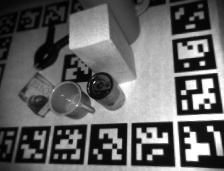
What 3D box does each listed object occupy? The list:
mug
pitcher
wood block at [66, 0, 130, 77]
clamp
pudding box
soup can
[{"bbox_3d":[-0.106,0.035,0.574,0.116,0.082,0.093,31,80,28],"label":"mug"},{"bbox_3d":[-0.004,-0.223,0.549,0.187,0.245,0.133,-9,65,20],"label":"pitcher"},{"bbox_3d":[-0.022,-0.102,0.526,0.089,0.208,0.090,-9,67,13],"label":"wood block"},{"bbox_3d":[-0.208,-0.134,0.710,0.121,0.037,0.165,24,80,18],"label":"clamp"},{"bbox_3d":[-0.231,0.016,0.653,0.112,0.039,0.090,32,86,28],"label":"pudding box"},{"bbox_3d":[-0.022,0.002,0.545,0.067,0.103,0.067,-6,70,18],"label":"soup can"}]
